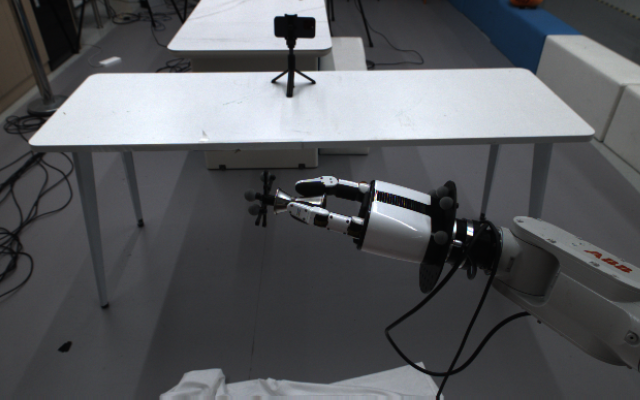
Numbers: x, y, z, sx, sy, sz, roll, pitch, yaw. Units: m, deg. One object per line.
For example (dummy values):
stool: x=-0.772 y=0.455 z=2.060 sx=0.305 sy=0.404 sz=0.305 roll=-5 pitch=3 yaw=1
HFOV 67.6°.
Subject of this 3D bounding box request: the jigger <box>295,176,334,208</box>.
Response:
jigger: x=-0.020 y=0.001 z=0.684 sx=0.071 sy=0.043 sz=0.043 roll=7 pitch=35 yaw=7
